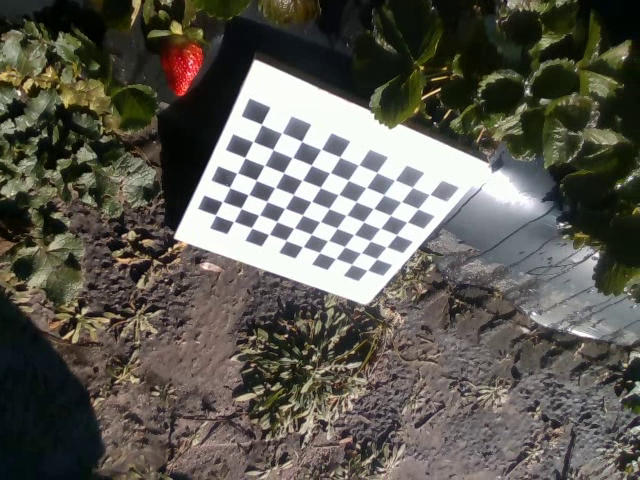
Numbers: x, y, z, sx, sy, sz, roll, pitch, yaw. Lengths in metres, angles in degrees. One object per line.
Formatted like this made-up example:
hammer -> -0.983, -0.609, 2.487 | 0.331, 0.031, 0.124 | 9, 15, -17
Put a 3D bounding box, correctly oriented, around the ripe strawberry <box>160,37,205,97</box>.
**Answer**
ripe strawberry -> -0.136, -0.170, 0.687 | 0.048, 0.069, 0.040 | 8, 37, -6
